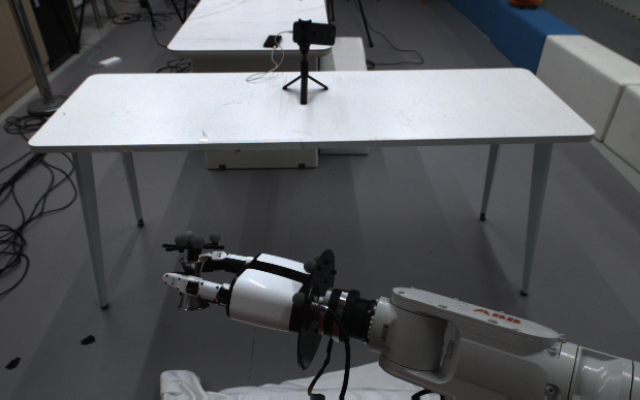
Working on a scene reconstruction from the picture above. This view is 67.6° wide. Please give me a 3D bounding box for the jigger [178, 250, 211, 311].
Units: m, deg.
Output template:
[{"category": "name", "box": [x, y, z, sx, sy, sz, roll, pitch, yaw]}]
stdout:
[{"category": "jigger", "box": [-0.176, 0.116, 0.681, 0.043, 0.071, 0.043, 0, 3, 0]}]
